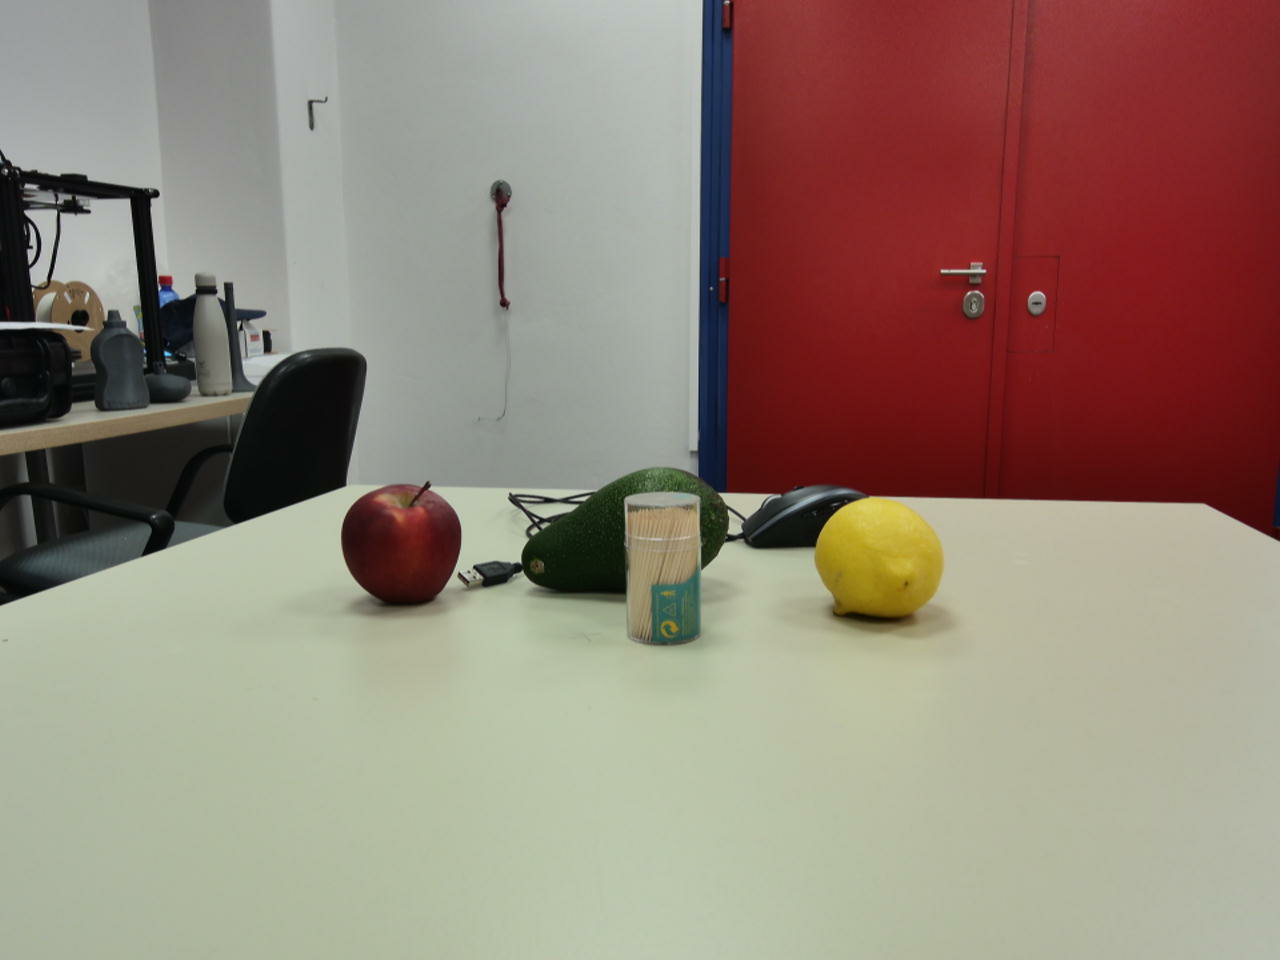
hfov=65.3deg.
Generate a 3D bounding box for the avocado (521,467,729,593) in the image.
[{"bbox_3d":[-0.006,0.029,0.615,0.123,0.076,0.074,2,8,17],"label":"avocado"}]
